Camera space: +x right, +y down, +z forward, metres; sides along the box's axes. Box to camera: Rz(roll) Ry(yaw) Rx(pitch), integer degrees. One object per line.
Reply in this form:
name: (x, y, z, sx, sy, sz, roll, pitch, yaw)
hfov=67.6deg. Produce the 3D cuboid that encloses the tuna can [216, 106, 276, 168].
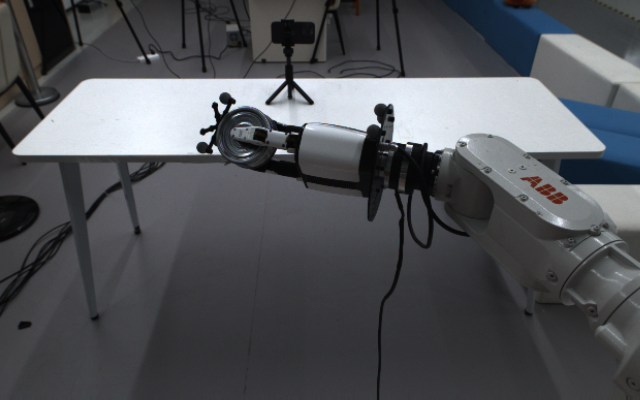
tuna can: (-0.104, -0.091, 0.695, 0.085, 0.085, 0.034, 12, -3, 14)
